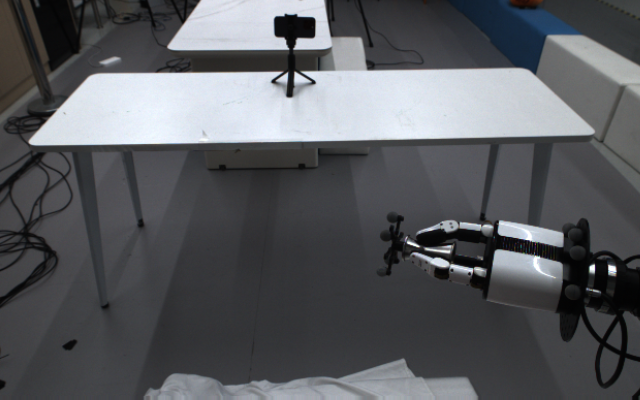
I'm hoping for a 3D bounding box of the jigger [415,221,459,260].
[{"bbox_3d":[0.161,0.071,0.686,0.071,0.043,0.043,10,35,22],"label":"jigger"}]
